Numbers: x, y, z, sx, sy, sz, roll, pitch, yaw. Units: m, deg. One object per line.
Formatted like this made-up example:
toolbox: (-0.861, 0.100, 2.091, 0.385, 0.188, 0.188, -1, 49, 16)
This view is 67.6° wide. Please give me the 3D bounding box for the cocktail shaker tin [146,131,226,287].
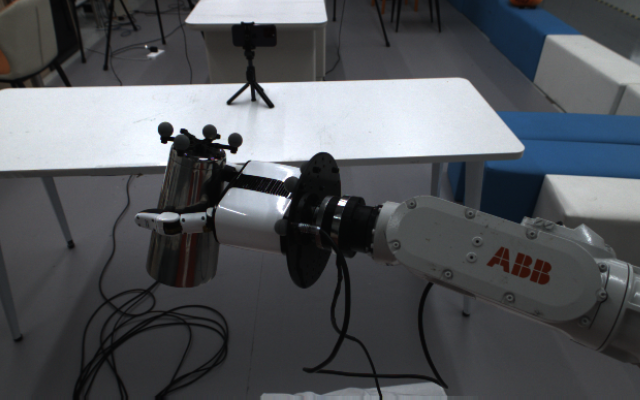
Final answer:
cocktail shaker tin: (-0.162, 0.014, 0.612, 0.093, 0.170, 0.093, 12, 24, -5)
